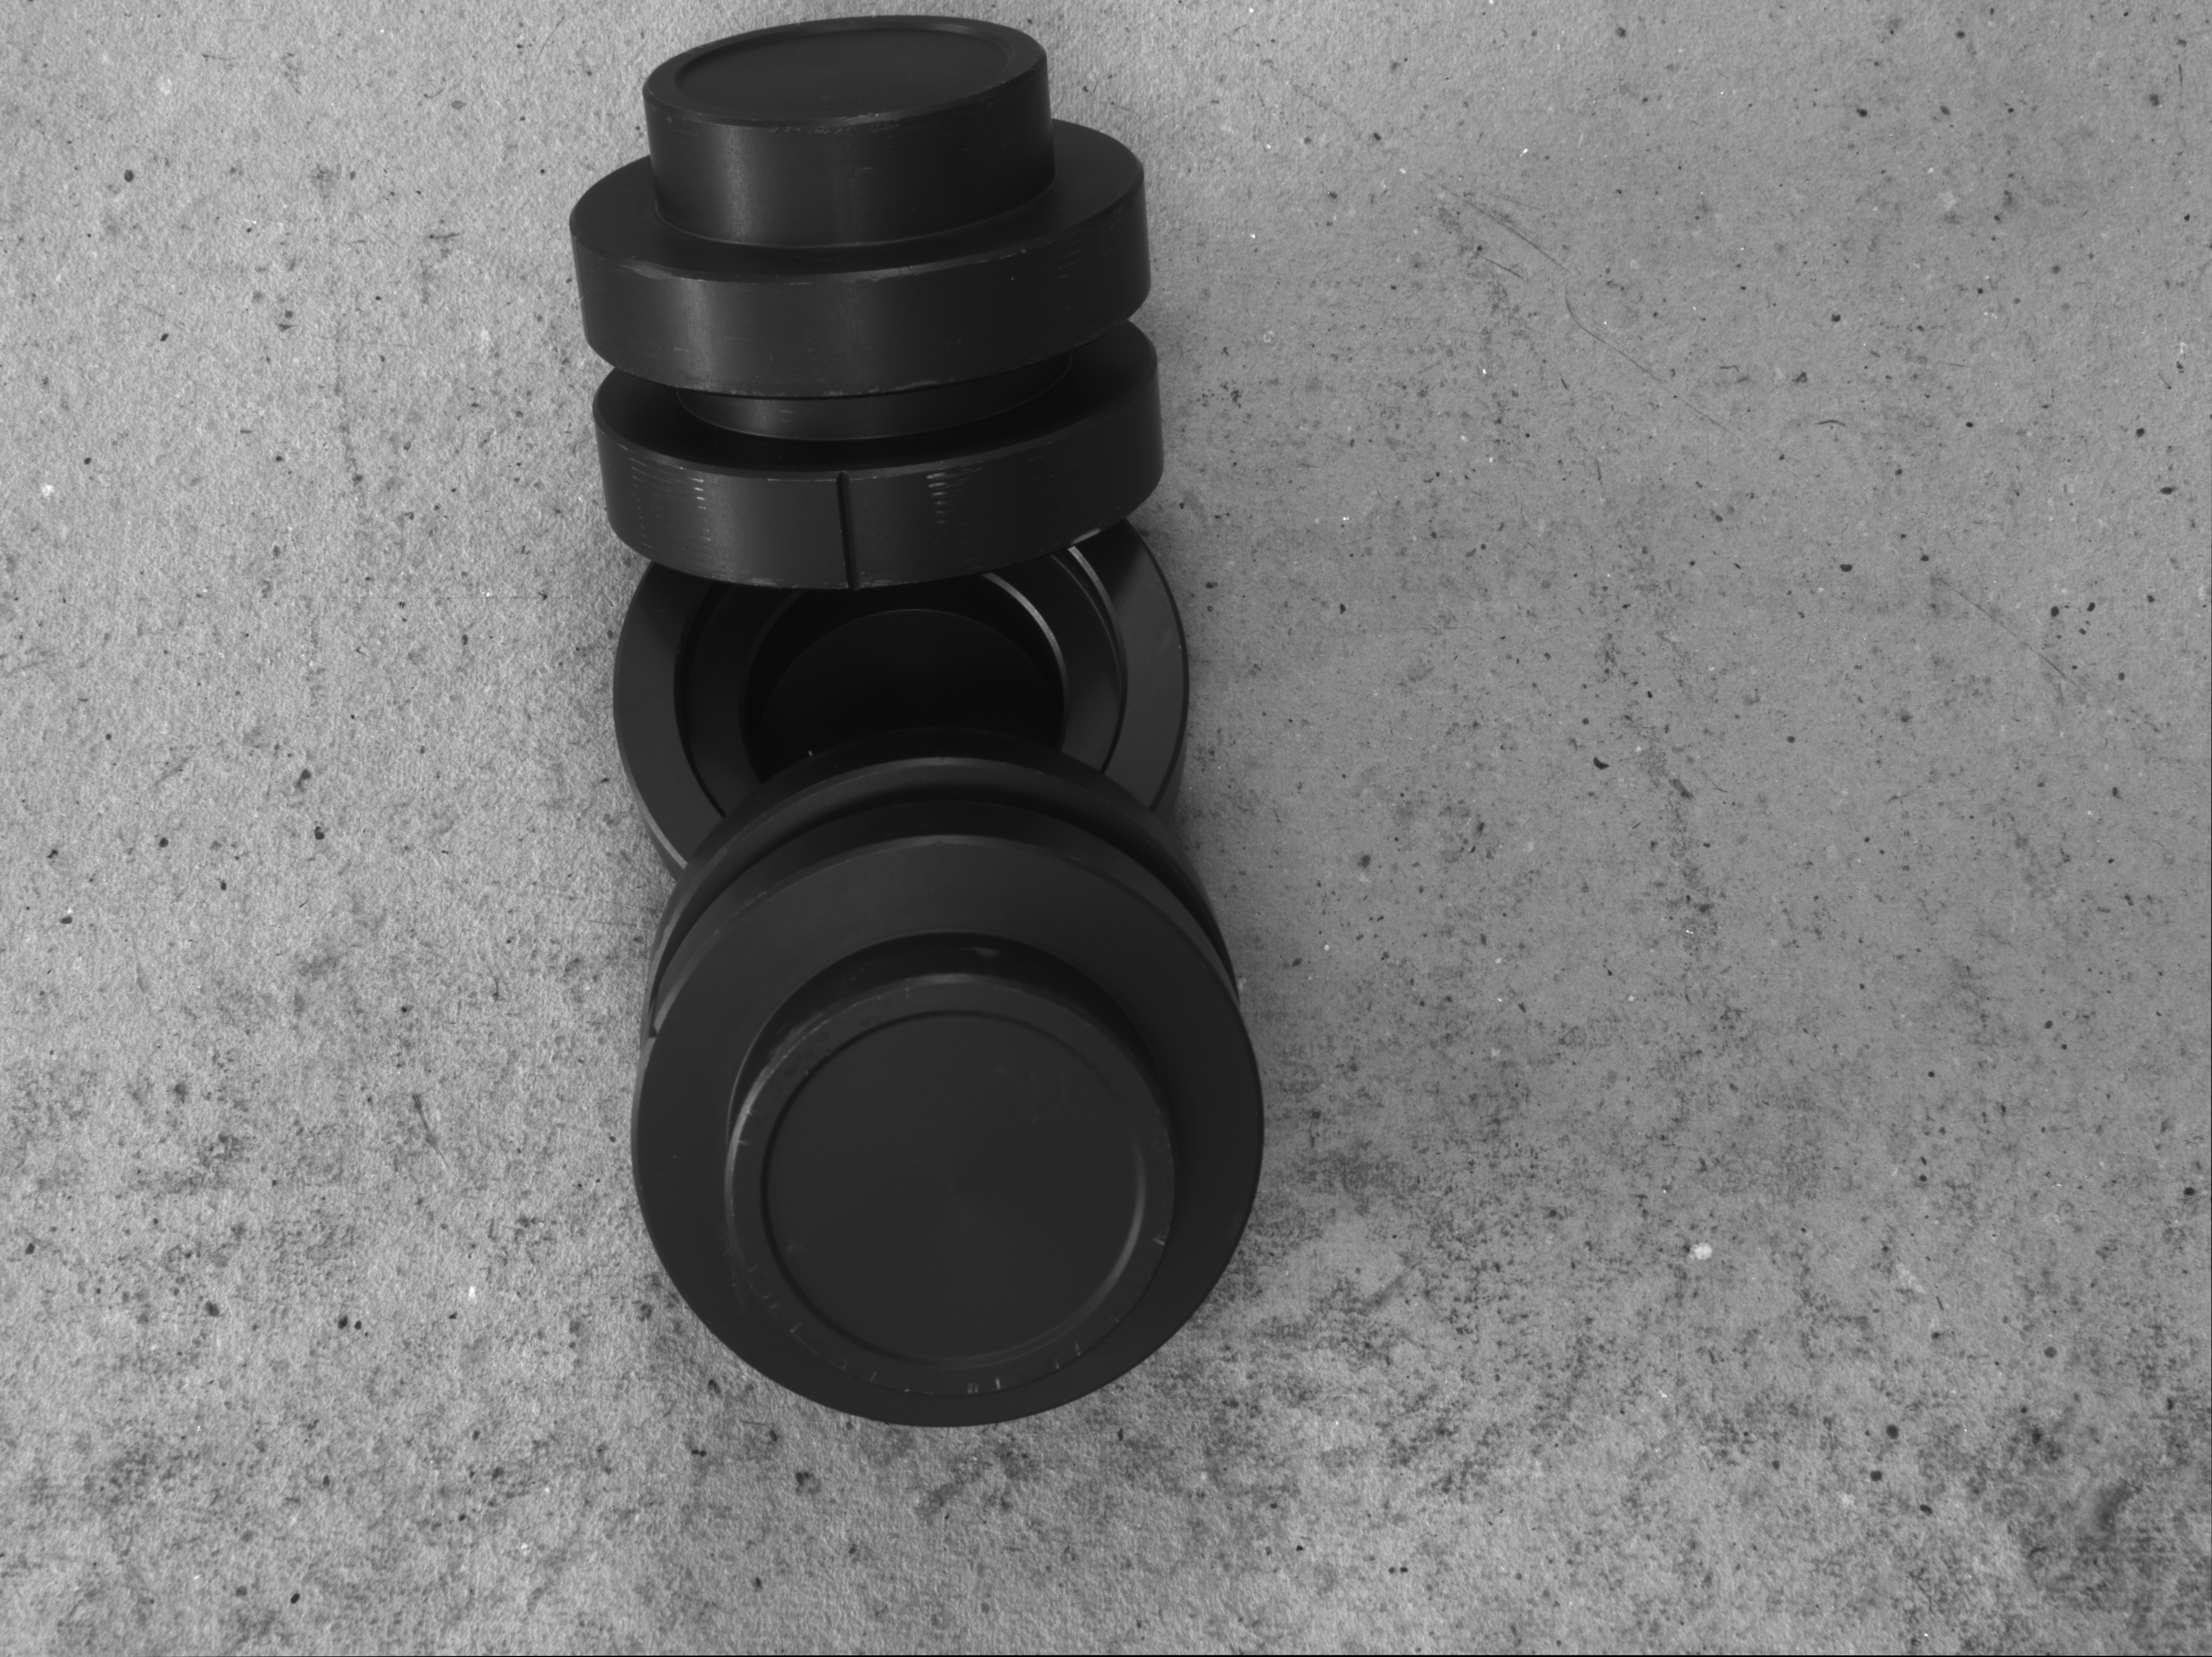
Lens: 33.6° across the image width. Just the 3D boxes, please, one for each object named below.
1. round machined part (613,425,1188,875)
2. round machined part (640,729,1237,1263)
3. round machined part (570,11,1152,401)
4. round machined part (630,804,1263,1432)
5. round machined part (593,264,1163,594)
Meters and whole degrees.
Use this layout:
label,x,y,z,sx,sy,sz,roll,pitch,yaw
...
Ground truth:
label,x,y,z,sx,sy,sz,roll,pitch,yaw
round machined part,-0.035,-0.018,0.643,0.098,0.042,0.098,0,70,0
round machined part,-0.027,0.036,0.596,0.098,0.042,0.098,-1,106,-4
round machined part,-0.042,-0.110,0.625,0.098,0.042,0.098,-4,27,2
round machined part,-0.024,0.049,0.567,0.098,0.042,0.098,-1,105,-4
round machined part,-0.040,-0.079,0.635,0.098,0.042,0.098,-3,27,2
